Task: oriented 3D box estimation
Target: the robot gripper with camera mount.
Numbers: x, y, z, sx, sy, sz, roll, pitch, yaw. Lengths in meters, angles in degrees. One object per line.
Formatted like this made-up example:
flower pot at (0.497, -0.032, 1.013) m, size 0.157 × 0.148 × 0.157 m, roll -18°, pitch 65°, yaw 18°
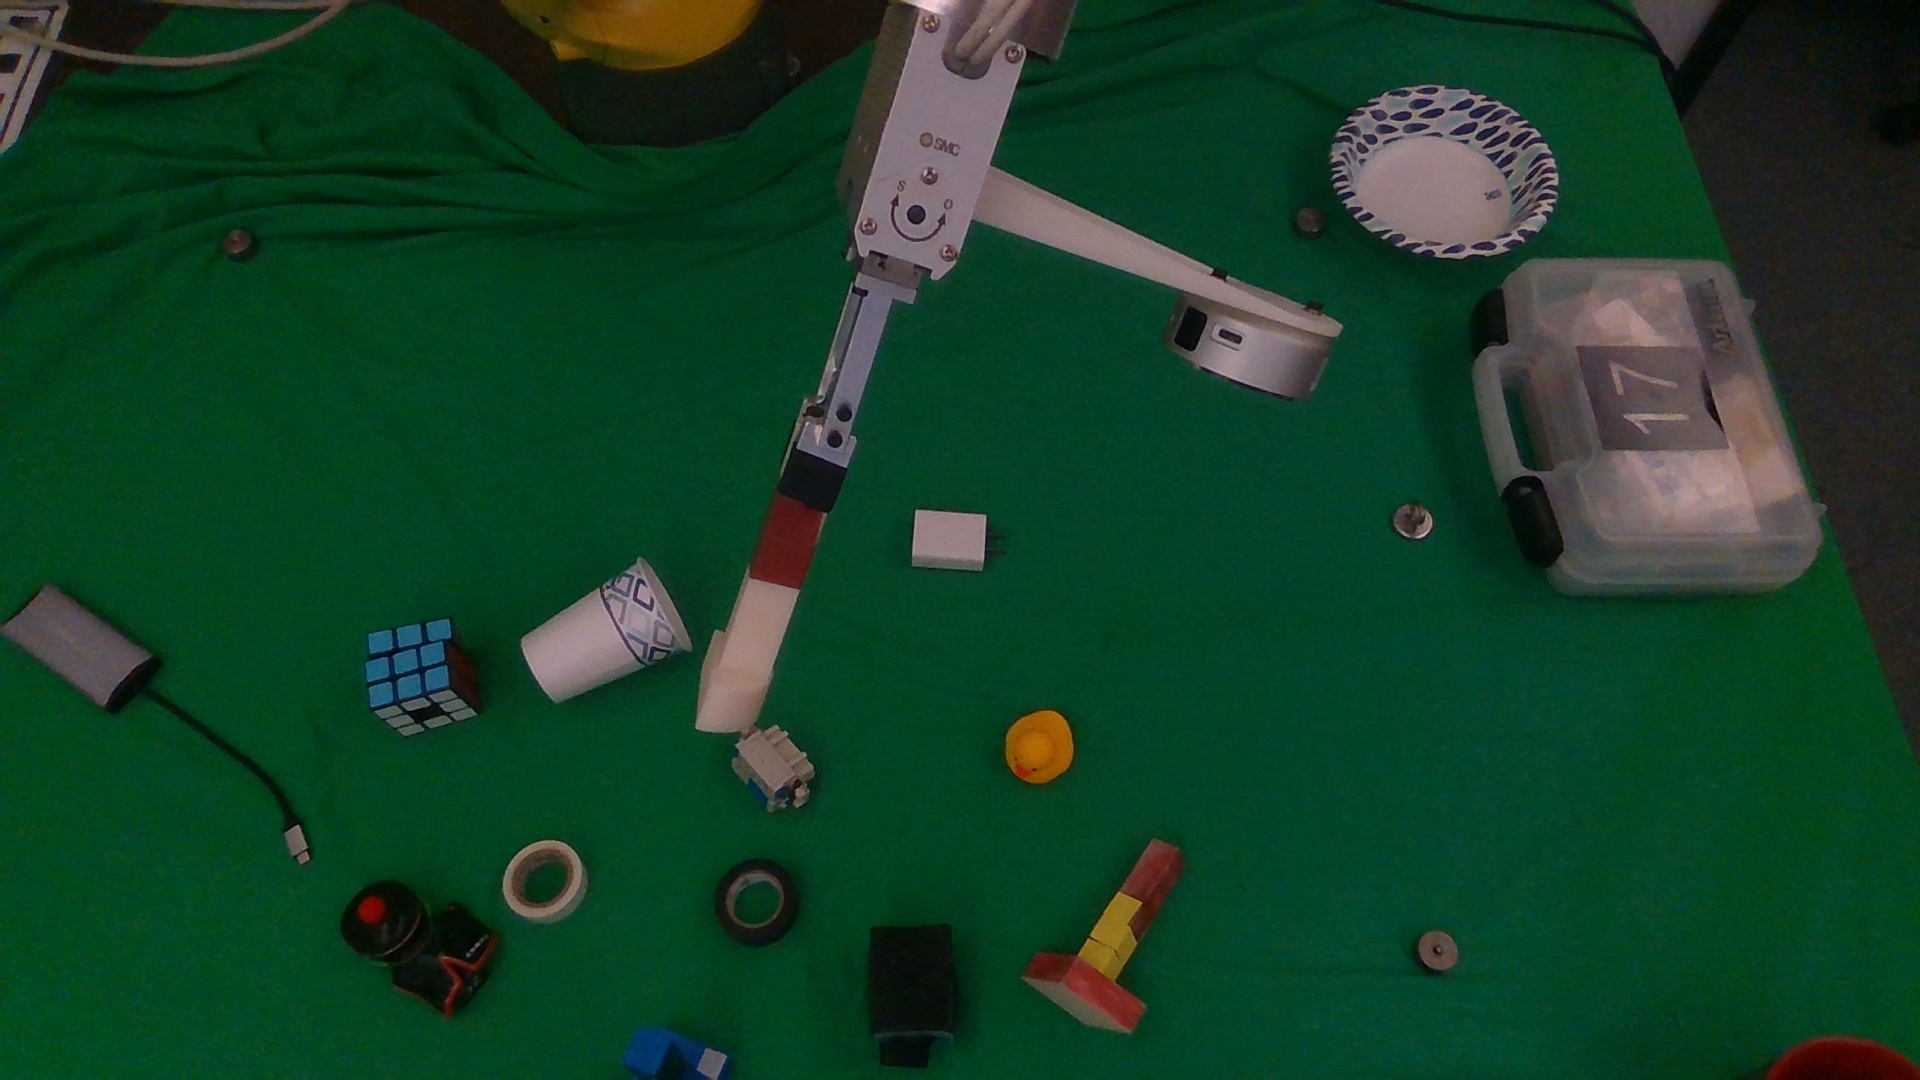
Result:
robot gripper with camera mount at (0.043, -0.073, 0.532) m, size 0.193 × 0.159 × 0.119 m, roll 15°, pitch 20°, yaw -12°

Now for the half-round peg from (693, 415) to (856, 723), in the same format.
half-round peg at (-0.072, 0.010, 0.542) m, size 0.031 × 0.122 × 0.054 m, roll 19°, pitch 18°, yaw -12°
